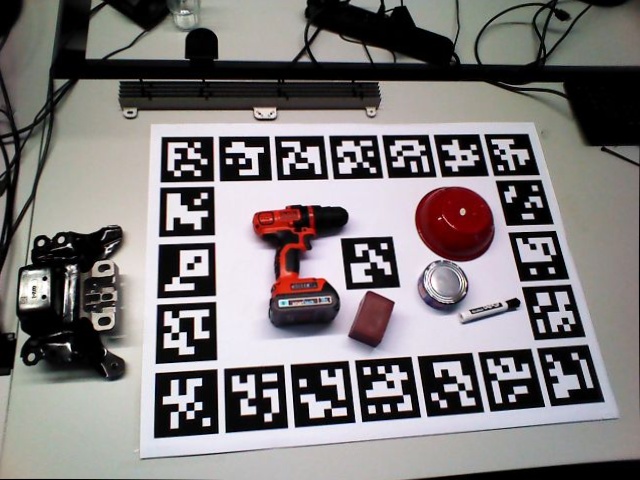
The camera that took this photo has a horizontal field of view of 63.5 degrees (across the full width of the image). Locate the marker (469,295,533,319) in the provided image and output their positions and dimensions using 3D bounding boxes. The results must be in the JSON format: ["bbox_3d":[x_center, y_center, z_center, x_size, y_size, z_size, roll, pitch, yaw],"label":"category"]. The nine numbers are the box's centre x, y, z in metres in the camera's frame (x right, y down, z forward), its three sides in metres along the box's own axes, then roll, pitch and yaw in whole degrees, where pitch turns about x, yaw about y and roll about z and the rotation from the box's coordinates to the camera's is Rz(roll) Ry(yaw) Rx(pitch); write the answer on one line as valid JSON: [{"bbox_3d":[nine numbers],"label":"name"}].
[{"bbox_3d":[0.327,0.120,0.930,0.121,0.020,0.019,-11,71,-11],"label":"marker"}]

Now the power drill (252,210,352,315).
[{"bbox_3d":[-0.023,0.033,0.912,0.184,0.057,0.186,-2,66,-11],"label":"power drill"}]

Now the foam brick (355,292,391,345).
[{"bbox_3d":[0.100,0.134,0.890,0.051,0.053,0.077,21,68,1],"label":"foam brick"}]

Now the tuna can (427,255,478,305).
[{"bbox_3d":[0.238,0.073,0.933,0.086,0.034,0.085,3,67,-8],"label":"tuna can"}]

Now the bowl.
[{"bbox_3d":[0.276,-0.049,0.986,0.162,0.055,0.161,1,61,-2],"label":"bowl"}]
